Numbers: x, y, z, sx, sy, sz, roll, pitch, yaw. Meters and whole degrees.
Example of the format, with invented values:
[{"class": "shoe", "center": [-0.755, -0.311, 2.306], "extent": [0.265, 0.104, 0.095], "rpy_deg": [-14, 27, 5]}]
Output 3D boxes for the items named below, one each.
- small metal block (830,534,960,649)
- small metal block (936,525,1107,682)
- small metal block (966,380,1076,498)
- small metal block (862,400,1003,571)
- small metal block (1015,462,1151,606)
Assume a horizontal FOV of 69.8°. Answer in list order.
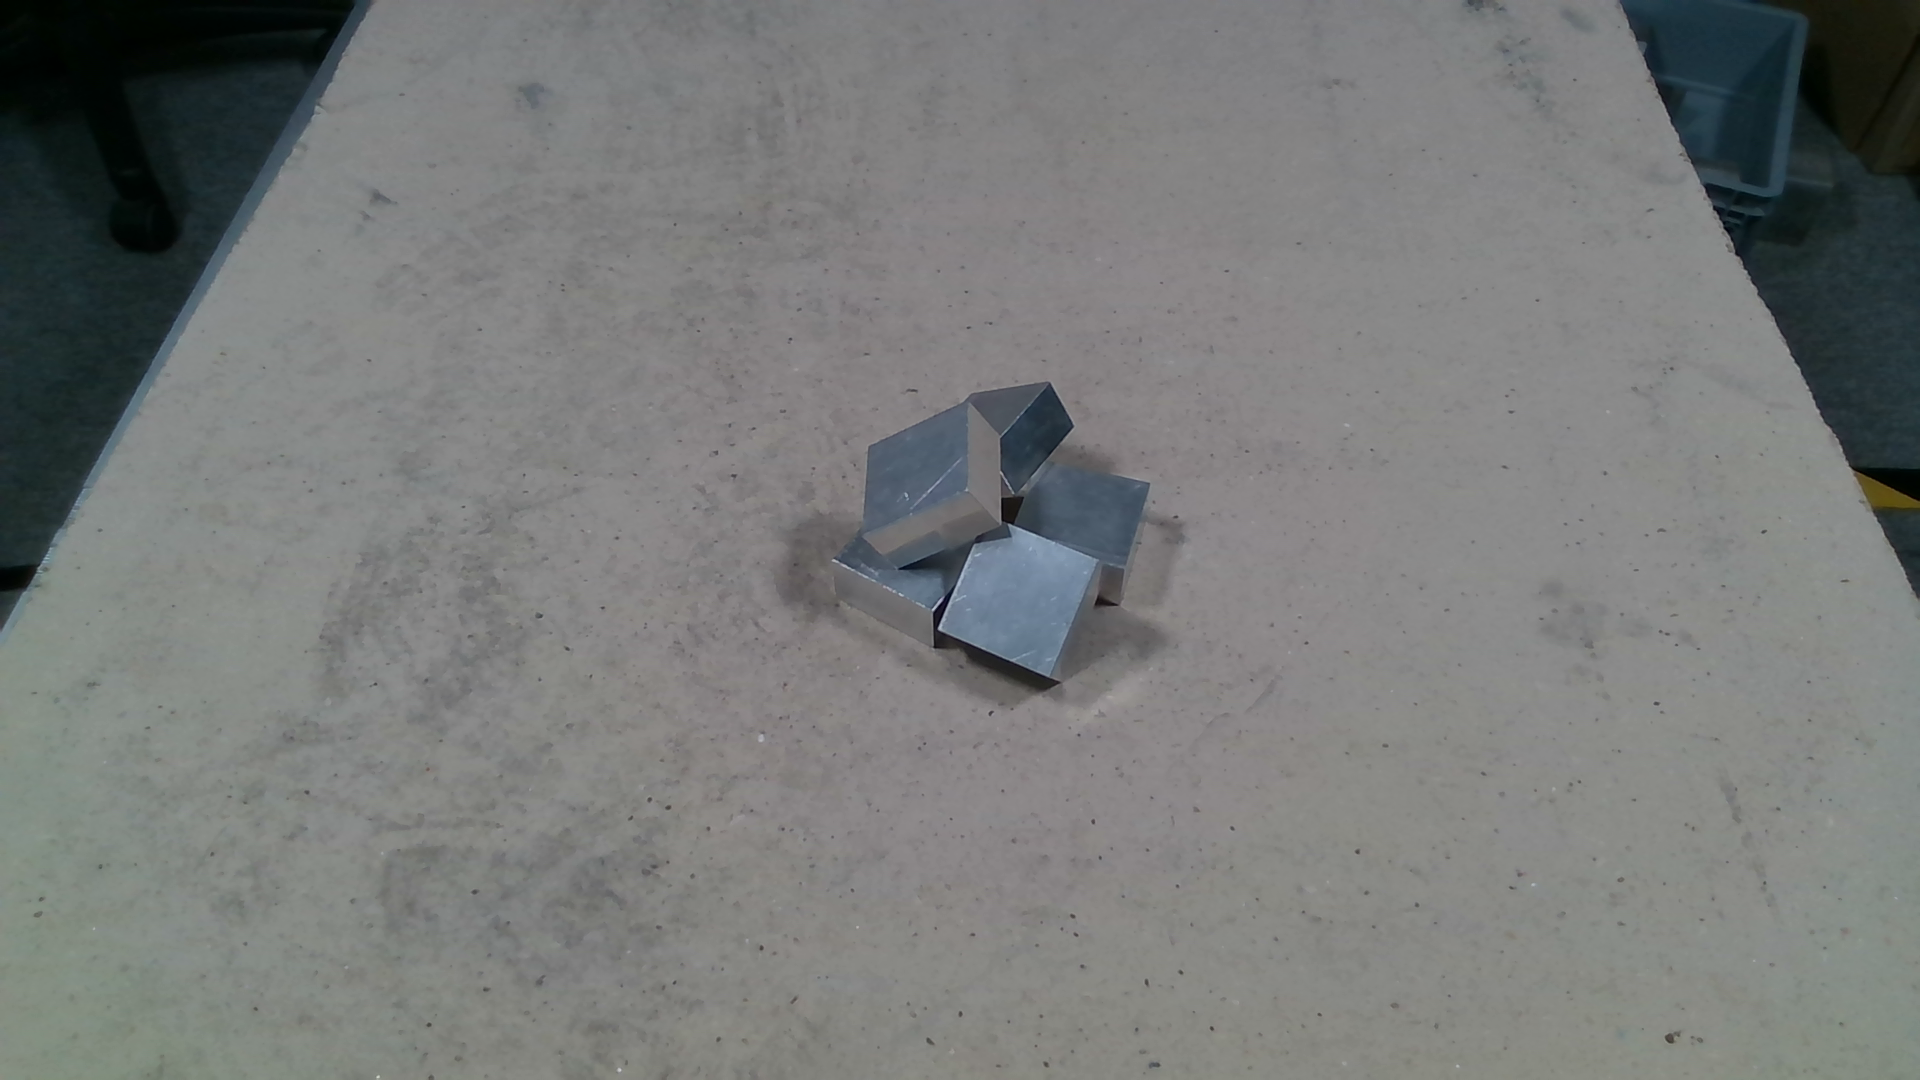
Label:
[{"class": "small metal block", "center": [-0.019, 0.011, 0.579], "extent": [0.050, 0.025, 0.050], "rpy_deg": [26, 55, 20]}, {"class": "small metal block", "center": [0.026, 0.024, 0.553], "extent": [0.050, 0.025, 0.050], "rpy_deg": [22, 87, 17]}, {"class": "small metal block", "center": [0.014, -0.043, 0.608], "extent": [0.050, 0.025, 0.050], "rpy_deg": [-3, 39, 48]}, {"class": "small metal block", "center": [-0.011, -0.022, 0.558], "extent": [0.050, 0.025, 0.050], "rpy_deg": [-22, 45, 24]}, {"class": "small metal block", "center": [0.051, -0.004, 0.591], "extent": [0.050, 0.025, 0.050], "rpy_deg": [13, 51, 11]}]
